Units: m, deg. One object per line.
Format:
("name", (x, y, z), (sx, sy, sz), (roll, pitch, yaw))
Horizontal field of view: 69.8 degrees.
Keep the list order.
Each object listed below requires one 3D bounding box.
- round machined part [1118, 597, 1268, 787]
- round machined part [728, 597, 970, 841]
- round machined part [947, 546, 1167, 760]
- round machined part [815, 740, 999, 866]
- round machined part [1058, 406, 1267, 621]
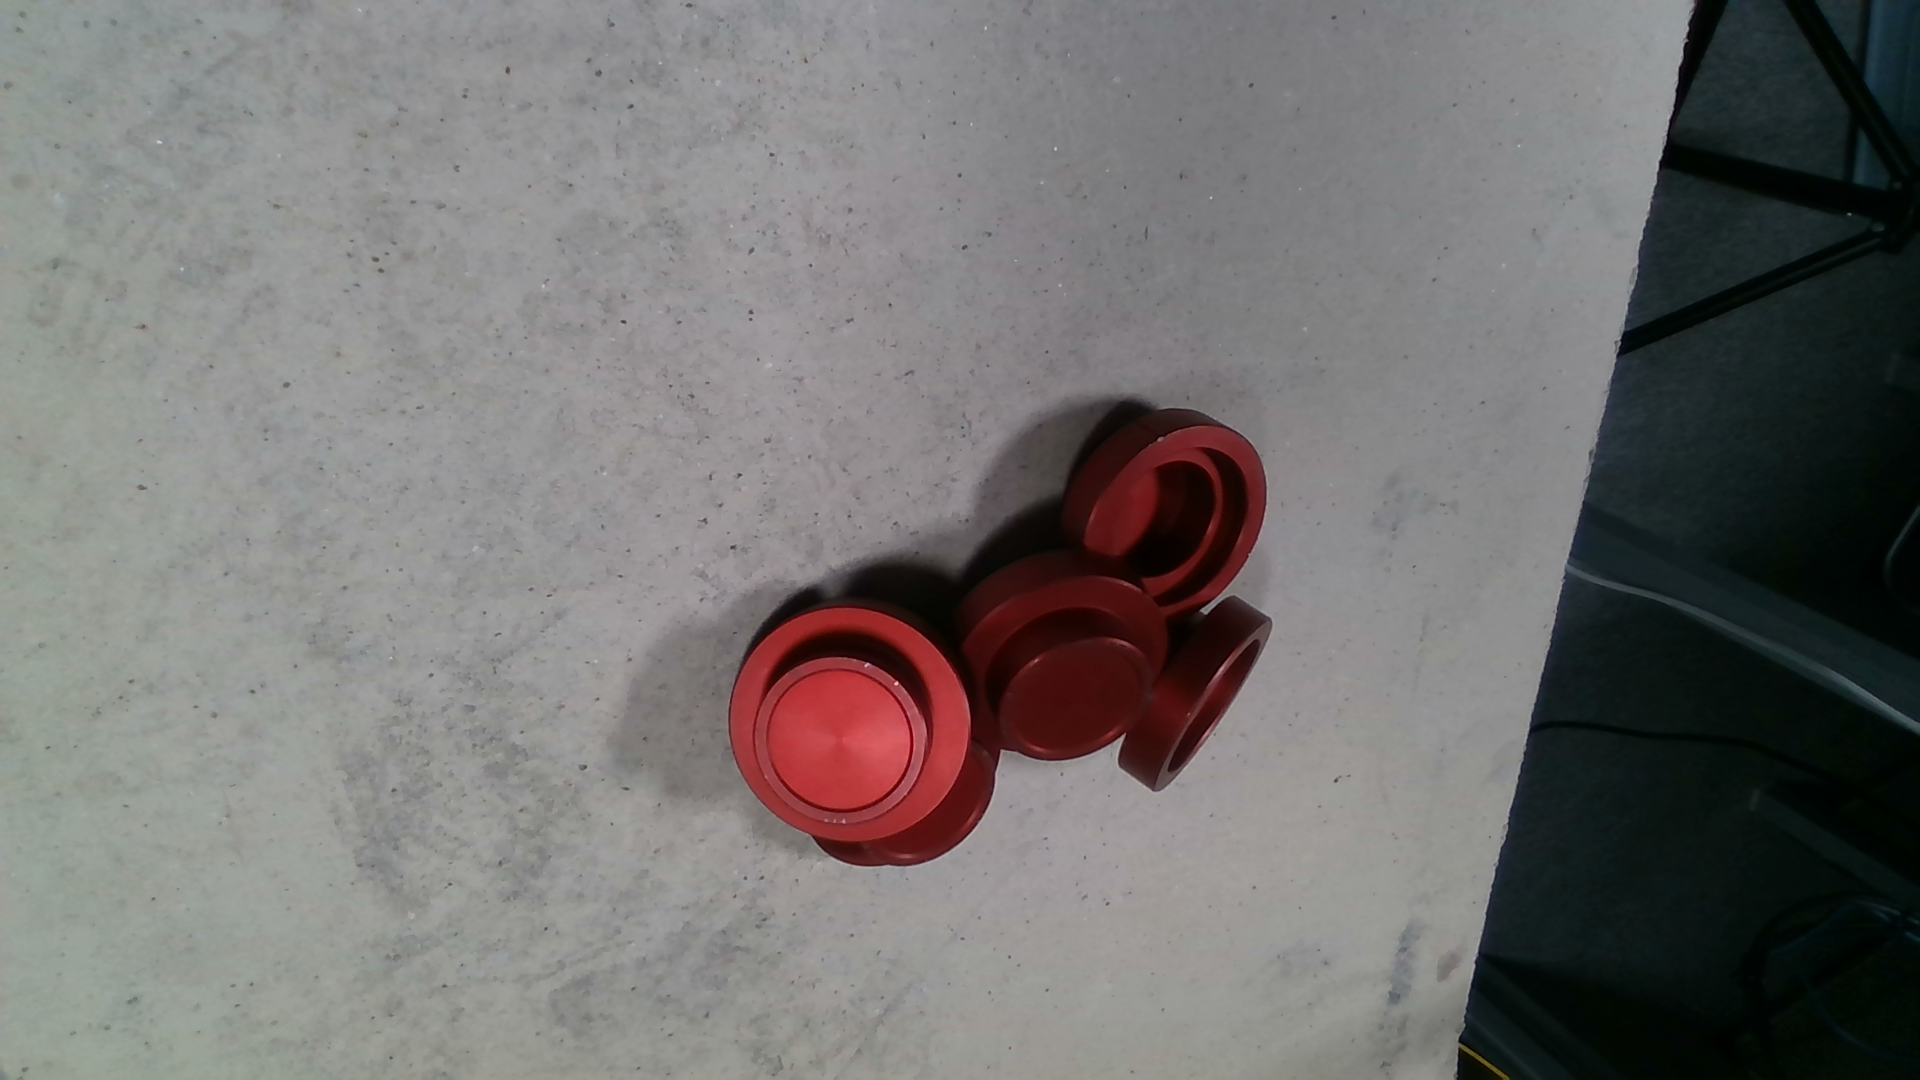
("round machined part", (0.102, 0.066, 0.651), (0.098, 0.042, 0.098), (-46, 157, -25))
("round machined part", (-0.045, 0.074, 0.550), (0.098, 0.042, 0.098), (1, 99, 5))
("round machined part", (0.043, 0.054, 0.583), (0.098, 0.042, 0.098), (-11, 128, -14))
("round machined part", (-0.024, 0.105, 0.612), (0.098, 0.042, 0.098), (-14, 122, -25))
("round machined part", (0.085, -0.014, 0.614), (0.098, 0.042, 0.098), (-14, 122, -25))
